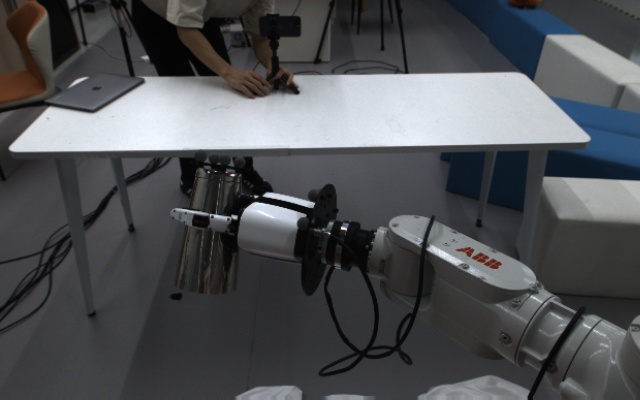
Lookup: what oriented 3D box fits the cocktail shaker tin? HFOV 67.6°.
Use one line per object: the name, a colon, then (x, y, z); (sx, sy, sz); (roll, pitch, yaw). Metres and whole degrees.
cocktail shaker tin: (-0.158, 0.043, 0.710); (0.093, 0.170, 0.093); (8, 3, 0)
